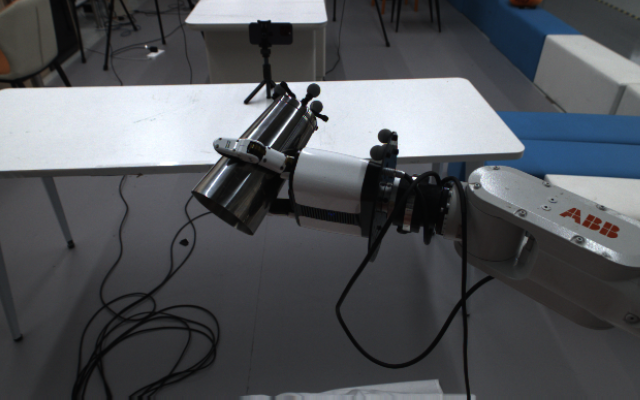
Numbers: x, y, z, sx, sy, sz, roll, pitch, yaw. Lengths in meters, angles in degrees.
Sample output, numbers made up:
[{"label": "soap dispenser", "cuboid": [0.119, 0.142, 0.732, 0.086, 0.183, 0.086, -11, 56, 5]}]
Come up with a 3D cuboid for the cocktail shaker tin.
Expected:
[{"label": "cocktail shaker tin", "cuboid": [-0.076, -0.054, 0.621, 0.093, 0.093, 0.170, 24, 69, 28]}]
